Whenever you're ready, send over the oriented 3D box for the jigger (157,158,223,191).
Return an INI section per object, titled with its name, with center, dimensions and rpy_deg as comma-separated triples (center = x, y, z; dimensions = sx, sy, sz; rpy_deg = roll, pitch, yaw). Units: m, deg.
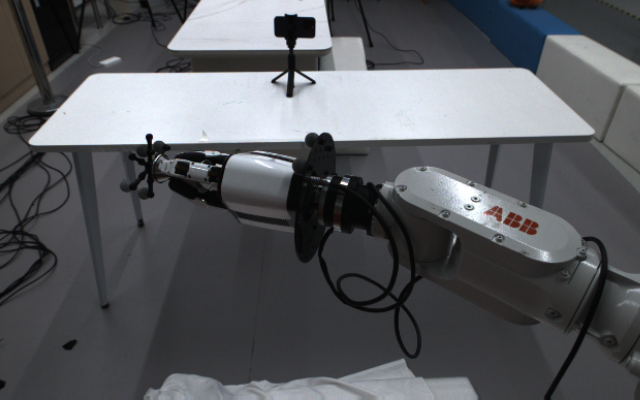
[jigger]
center = -0.175, -0.039, 0.635
dimensions = 0.071, 0.043, 0.043
rpy_deg = 10, 35, 16
